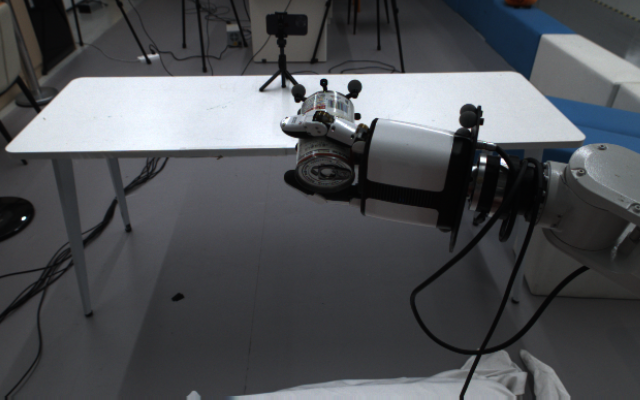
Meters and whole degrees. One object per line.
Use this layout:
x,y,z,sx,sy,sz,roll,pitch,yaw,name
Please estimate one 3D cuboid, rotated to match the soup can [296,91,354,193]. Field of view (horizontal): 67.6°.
0.008,-0.068,0.563,0.067,0.067,0.101,3,57,1,soup can
